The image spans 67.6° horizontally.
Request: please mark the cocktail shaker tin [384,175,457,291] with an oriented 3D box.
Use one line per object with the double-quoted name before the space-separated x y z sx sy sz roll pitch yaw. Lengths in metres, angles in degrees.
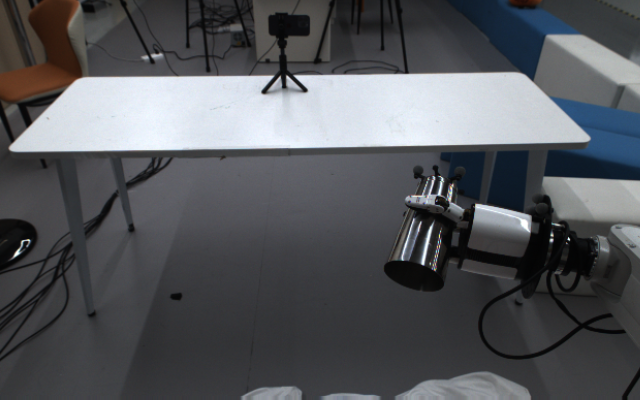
"cocktail shaker tin" 0.166 0.043 0.757 0.093 0.093 0.170 14 57 16
